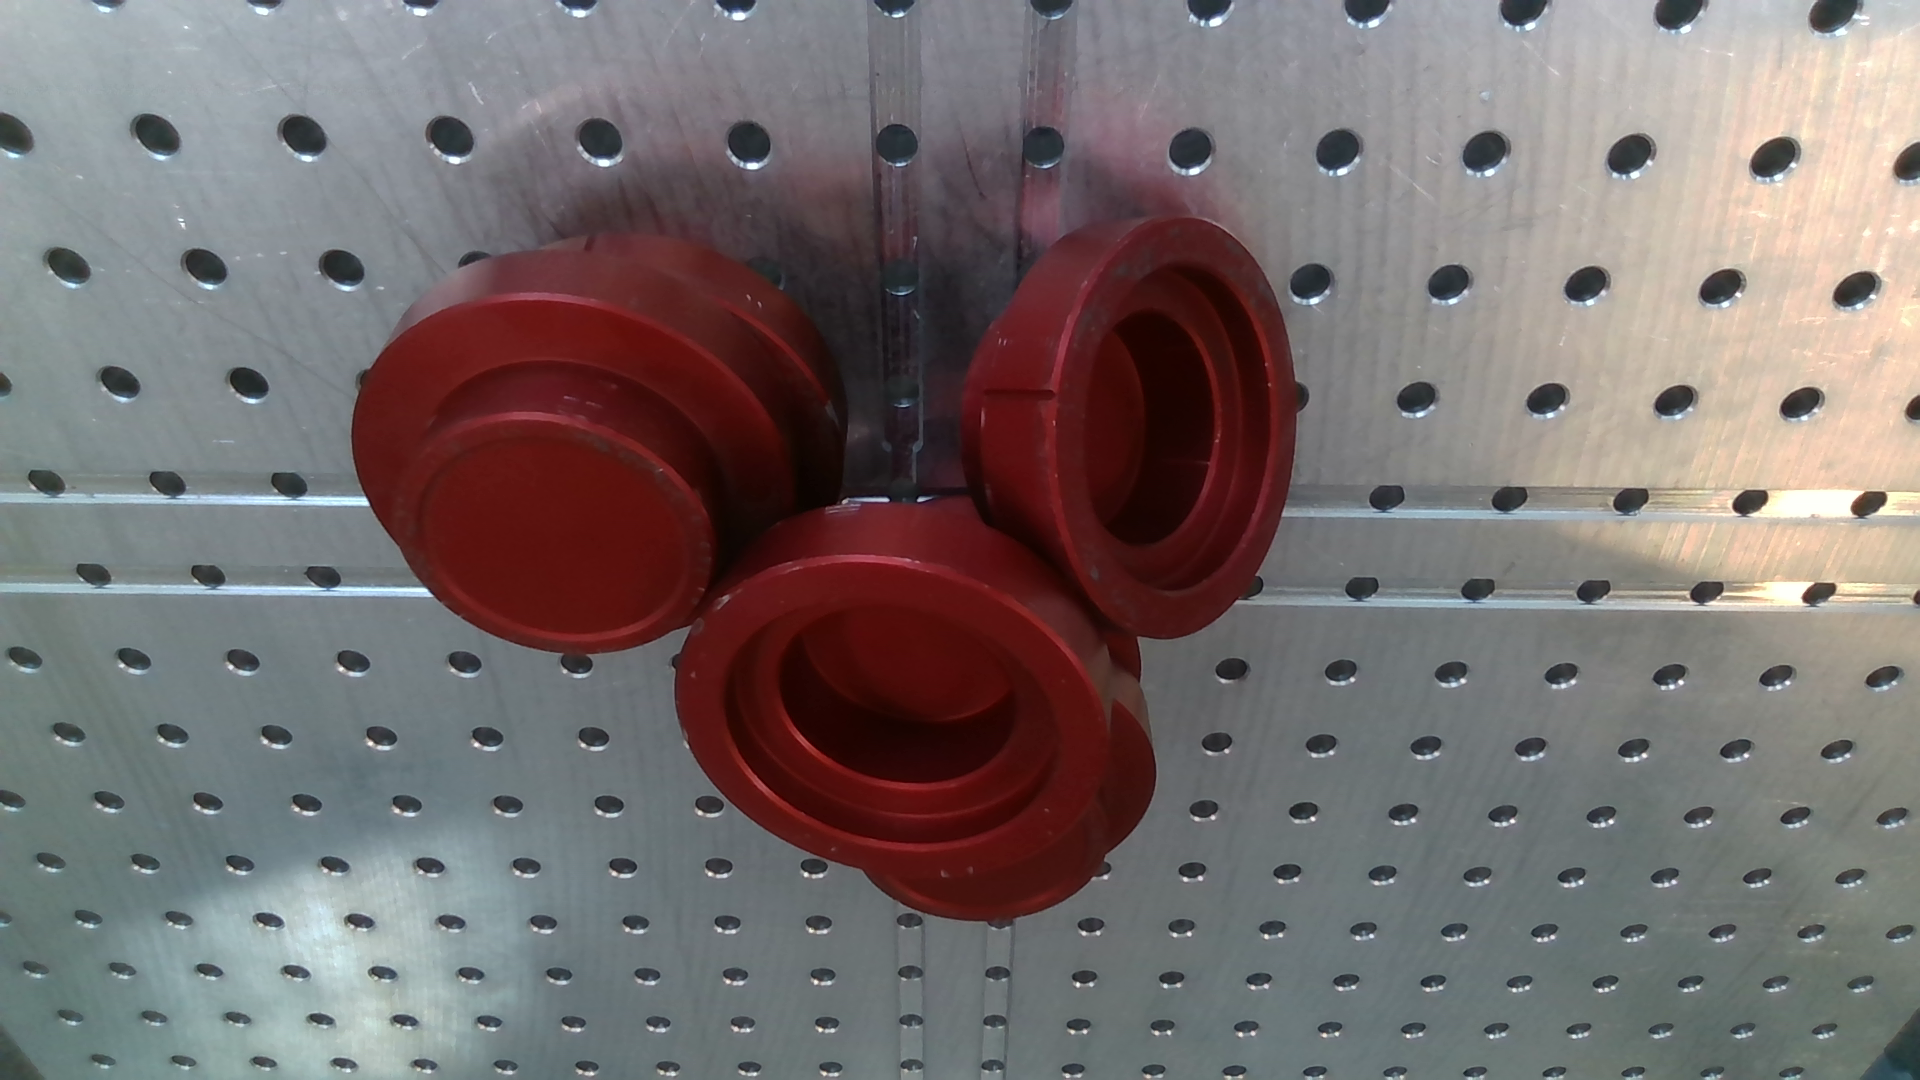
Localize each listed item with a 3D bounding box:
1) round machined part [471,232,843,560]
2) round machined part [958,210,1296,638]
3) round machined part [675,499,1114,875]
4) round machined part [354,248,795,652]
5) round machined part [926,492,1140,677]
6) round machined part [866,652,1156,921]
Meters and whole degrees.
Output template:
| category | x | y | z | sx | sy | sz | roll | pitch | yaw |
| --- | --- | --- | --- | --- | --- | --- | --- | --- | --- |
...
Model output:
| category | x | y | z | sx | sy | sz | roll | pitch | yaw |
| --- | --- | --- | --- | --- | --- | --- | --- | --- | --- |
| round machined part | -0.078 | -0.021 | 0.335 | 0.098 | 0.042 | 0.098 | 0 | 130 | 0 |
| round machined part | 0.038 | -0.027 | 0.332 | 0.042 | 0.098 | 0.098 | 6 | 142 | 43 |
| round machined part | -0.013 | 0.030 | 0.322 | 0.098 | 0.042 | 0.098 | 5 | 127 | 6 |
| round machined part | -0.088 | -0.013 | 0.314 | 0.098 | 0.042 | 0.098 | 0 | 130 | 0 |
| round machined part | 0.001 | 0.038 | 0.384 | 0.098 | 0.042 | 0.098 | 0 | 130 | 0 |
| round machined part | 0.006 | 0.068 | 0.381 | 0.098 | 0.042 | 0.098 | 0 | 130 | -1 |
